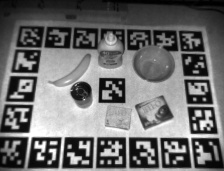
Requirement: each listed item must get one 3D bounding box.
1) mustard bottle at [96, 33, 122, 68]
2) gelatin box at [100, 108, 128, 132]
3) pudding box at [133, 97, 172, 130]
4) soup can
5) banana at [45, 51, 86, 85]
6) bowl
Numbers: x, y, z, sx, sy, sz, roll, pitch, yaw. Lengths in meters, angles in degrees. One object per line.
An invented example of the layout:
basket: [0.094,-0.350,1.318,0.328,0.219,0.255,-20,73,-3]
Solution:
mustard bottle: [-0.014,-0.129,0.770,0.096,0.192,0.058,1,67,-1]
gelatin box: [0.008,0.123,0.775,0.089,0.030,0.073,8,73,1]
pudding box: [0.145,0.098,0.786,0.114,0.038,0.089,-22,78,-10]
soup can: [-0.123,0.029,0.757,0.068,0.102,0.067,1,68,-3]
banana: [-0.163,-0.062,0.832,0.073,0.039,0.198,39,72,22]
bowl: [0.155,-0.080,0.847,0.162,0.055,0.161,1,69,-1]
